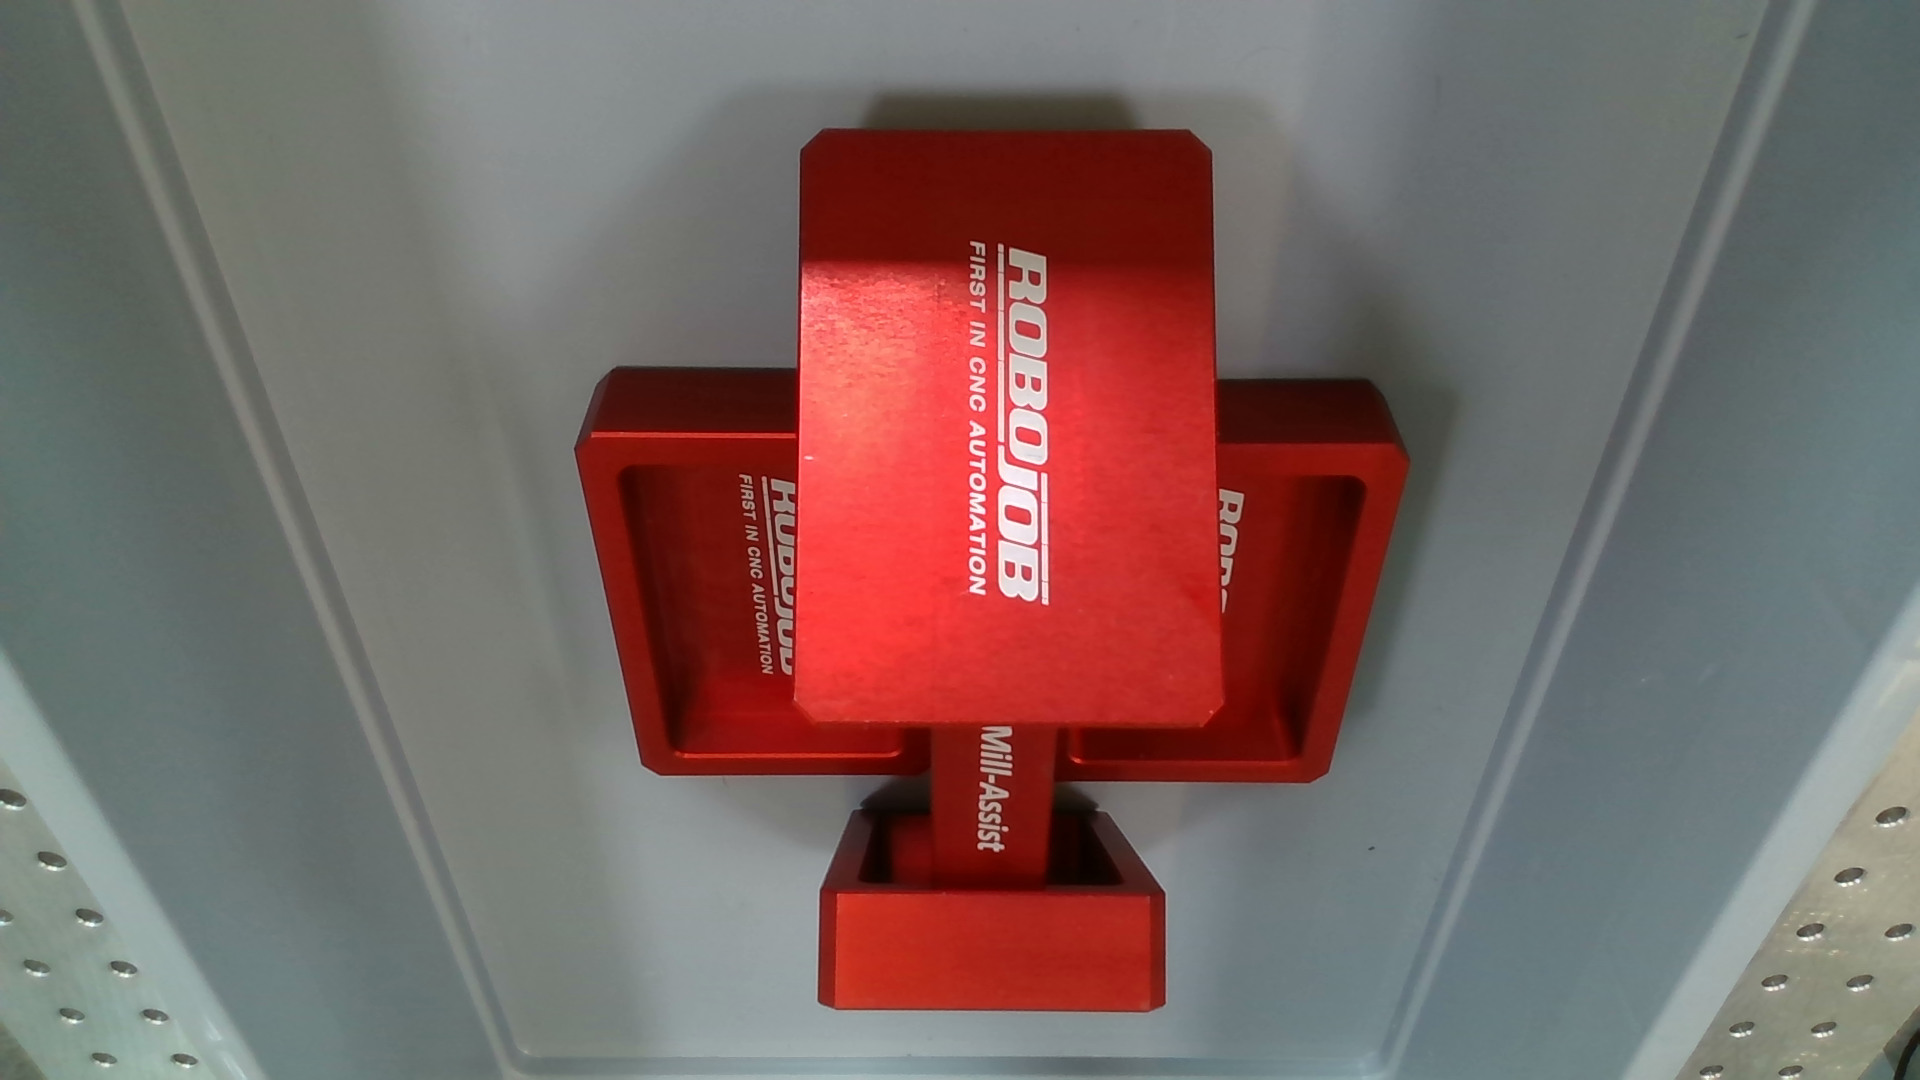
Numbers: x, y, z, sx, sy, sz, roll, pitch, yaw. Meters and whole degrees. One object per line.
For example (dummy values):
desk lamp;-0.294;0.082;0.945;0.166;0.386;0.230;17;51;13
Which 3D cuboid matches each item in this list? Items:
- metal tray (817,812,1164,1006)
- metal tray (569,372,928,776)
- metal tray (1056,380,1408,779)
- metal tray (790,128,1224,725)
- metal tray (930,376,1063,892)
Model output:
metal tray;0.007;0.107;0.418;0.090;0.130;0.030;0;88;-1
metal tray;-0.053;0.014;0.394;0.090;0.030;0.130;0;131;0
metal tray;0.068;0.016;0.397;0.090;0.030;0.130;0;131;1
metal tray;0.010;-0.024;0.307;0.090;0.130;0.030;0;172;0
metal tray;0.008;0.032;0.372;0.030;0.090;0.130;0;131;0
